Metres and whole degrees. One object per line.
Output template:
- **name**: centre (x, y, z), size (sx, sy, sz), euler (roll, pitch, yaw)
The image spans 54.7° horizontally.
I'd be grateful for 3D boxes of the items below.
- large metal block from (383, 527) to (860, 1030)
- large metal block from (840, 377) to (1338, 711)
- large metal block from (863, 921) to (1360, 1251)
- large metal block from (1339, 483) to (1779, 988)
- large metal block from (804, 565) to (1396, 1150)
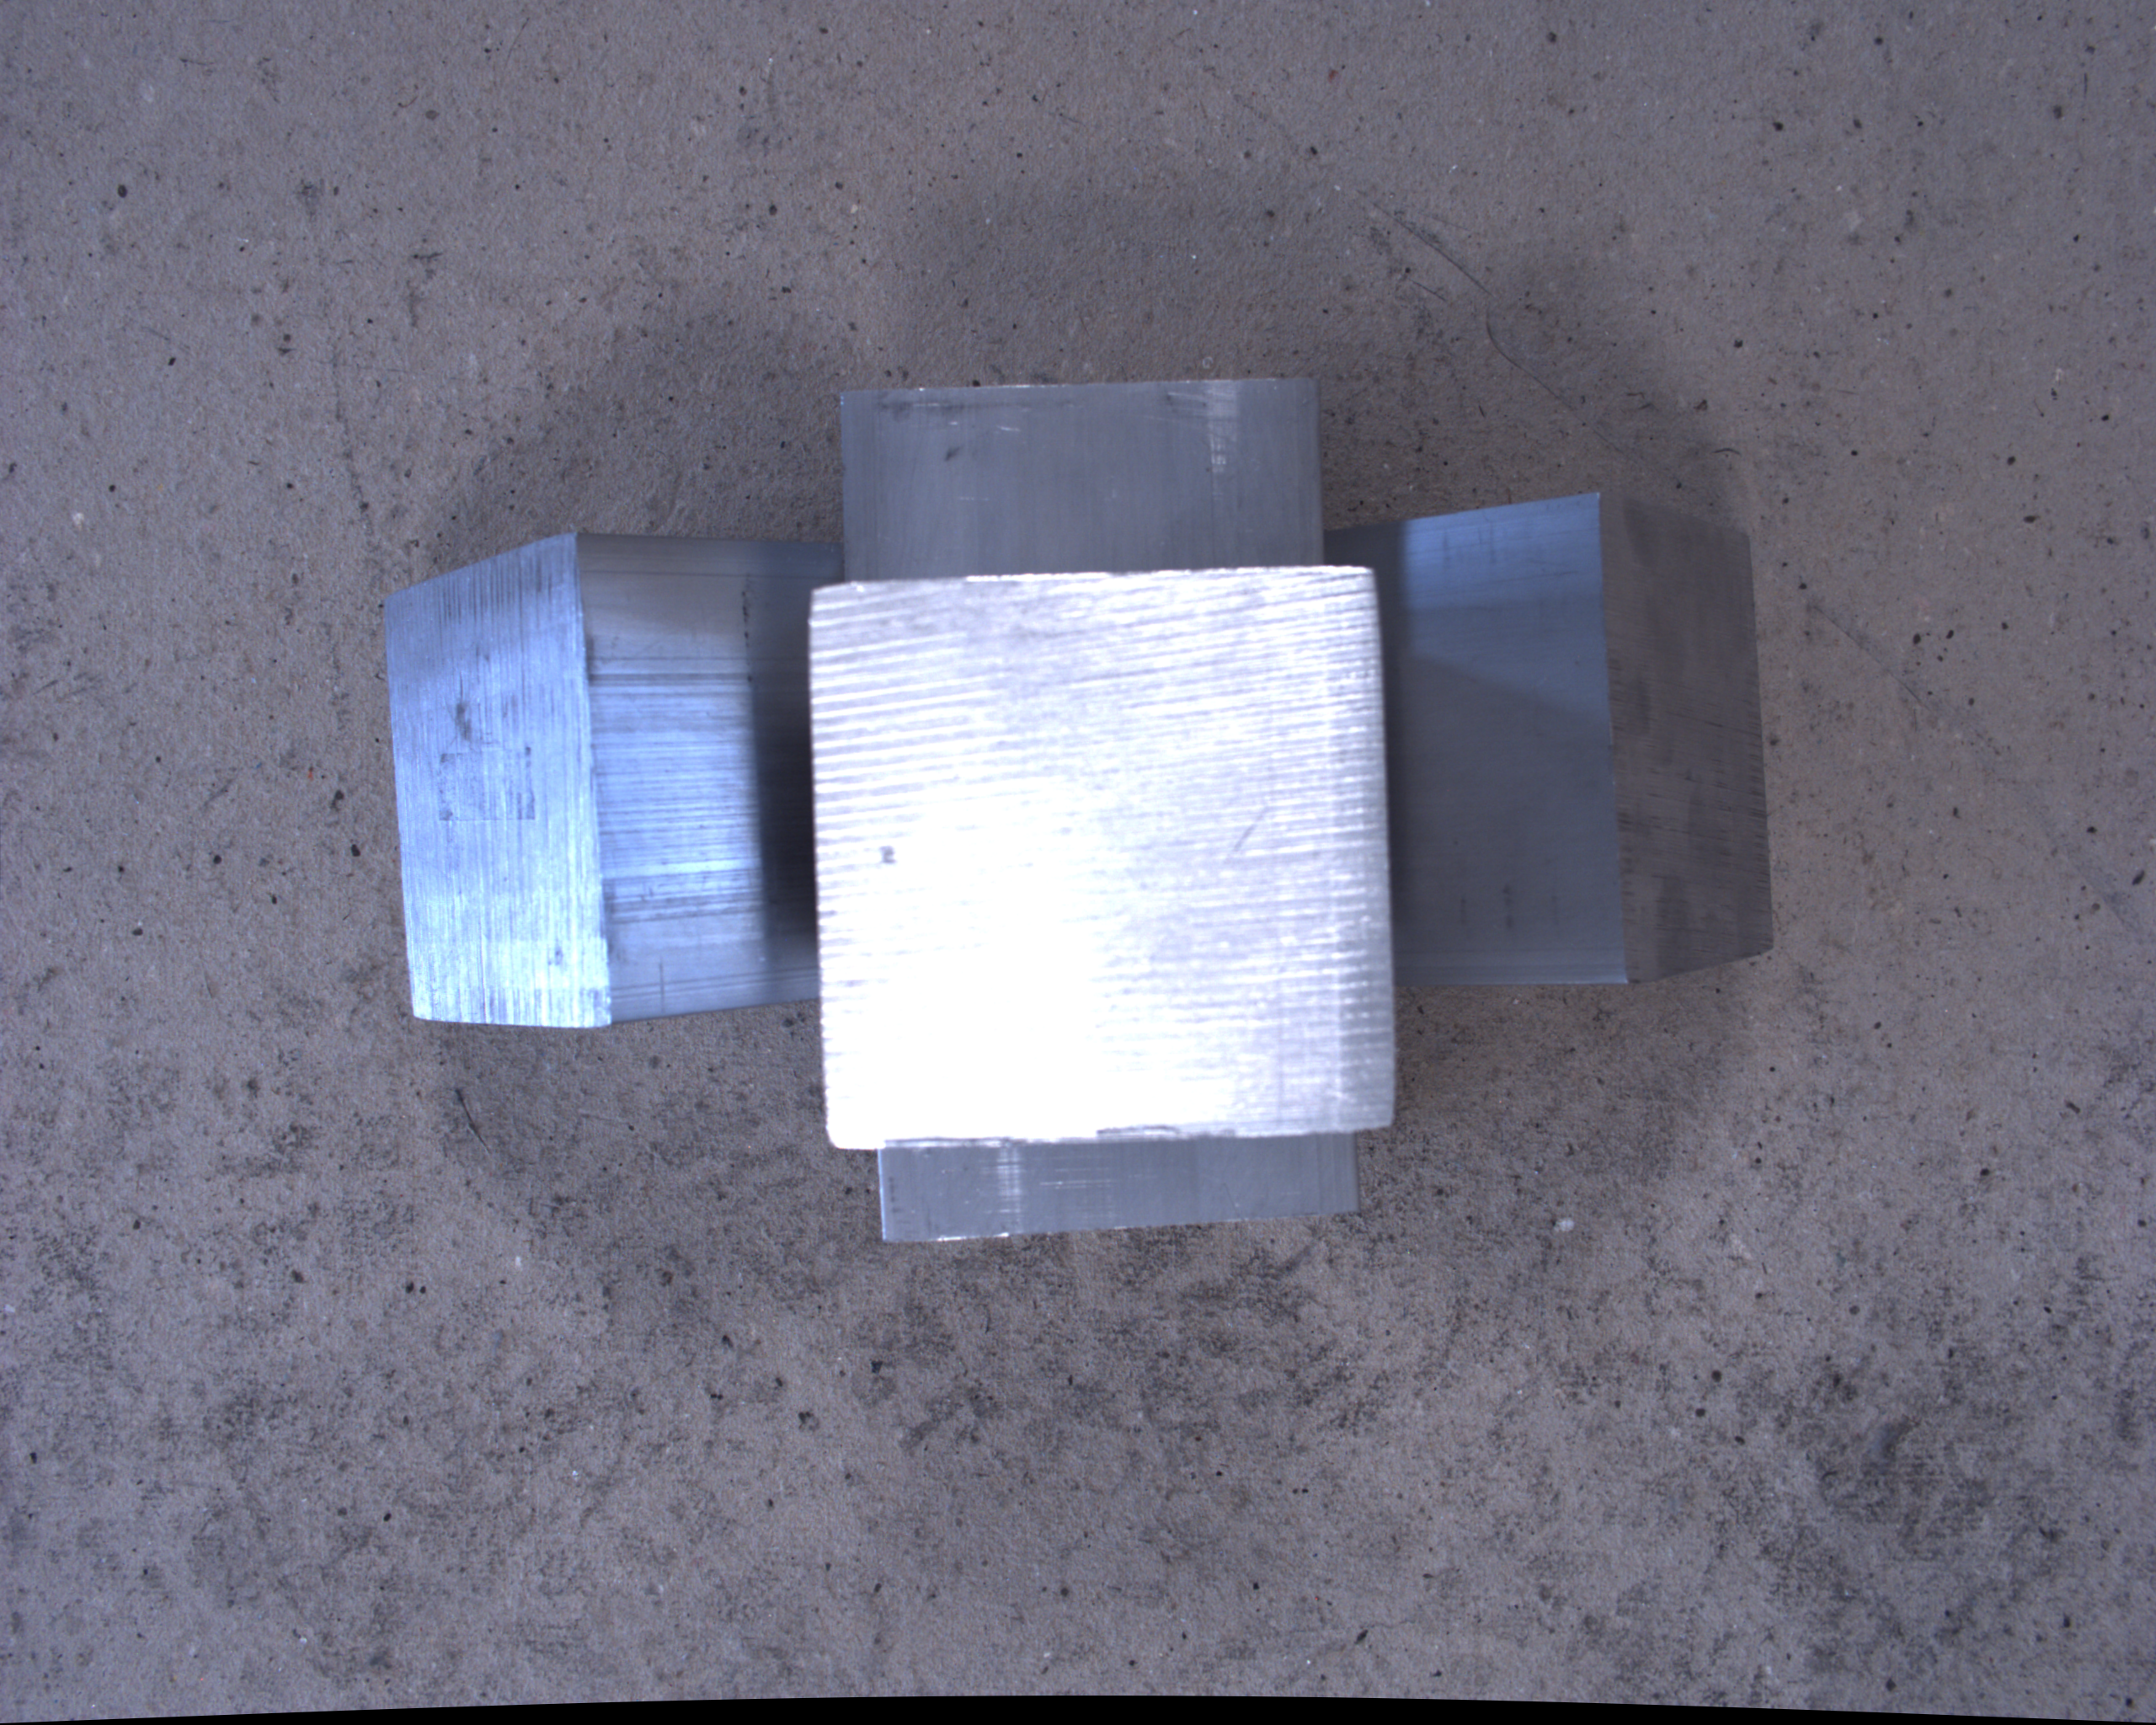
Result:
- **large metal block**: centre (-0.083, -0.013, 0.376), size (0.050, 0.080, 0.080), euler (-3, 90, -40)
- **large metal block**: centre (0.002, -0.054, 0.384), size (0.081, 0.080, 0.050), euler (-2, 90, -1)
- **large metal block**: centre (0.005, 0.037, 0.385), size (0.080, 0.080, 0.050), euler (-4, 90, 0)
- **large metal block**: centre (0.087, -0.021, 0.376), size (0.050, 0.080, 0.080), euler (-3, 90, 34)
- **large metal block**: centre (0.003, -0.001, 0.318), size (0.081, 0.050, 0.080), euler (-2, 90, 0)
